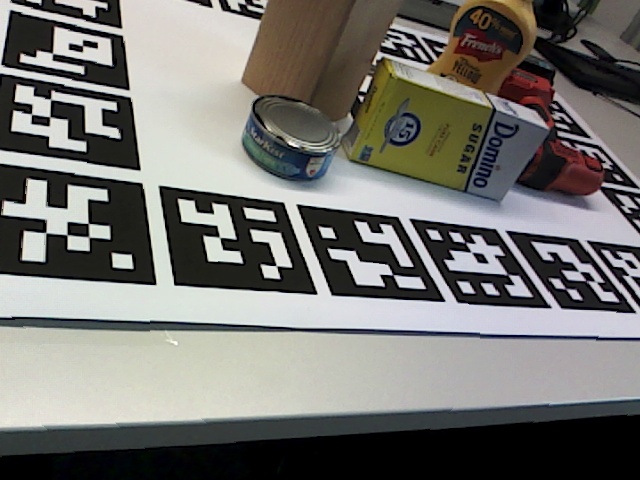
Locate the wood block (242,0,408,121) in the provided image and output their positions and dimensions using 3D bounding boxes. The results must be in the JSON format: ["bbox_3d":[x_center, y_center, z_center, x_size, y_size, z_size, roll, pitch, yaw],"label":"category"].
[{"bbox_3d":[0.012,-0.219,0.598,0.090,0.206,0.090,46,42,20],"label":"wood block"}]

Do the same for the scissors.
[{"bbox_3d":[0.025,-0.226,0.751,0.201,0.016,0.088,6,39,-25],"label":"scissors"}]

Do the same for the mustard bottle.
[{"bbox_3d":[0.194,-0.226,0.724,0.096,0.191,0.058,38,40,11],"label":"mustard bottle"}]

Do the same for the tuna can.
[{"bbox_3d":[-0.022,-0.094,0.555,0.085,0.034,0.086,17,40,-15],"label":"tuna can"}]

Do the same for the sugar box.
[{"bbox_3d":[0.131,-0.104,0.619,0.175,0.093,0.045,15,37,-19],"label":"sugar box"}]

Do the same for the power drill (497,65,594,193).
[{"bbox_3d":[0.228,-0.146,0.748,0.184,0.057,0.187,14,47,-16],"label":"power drill"}]
